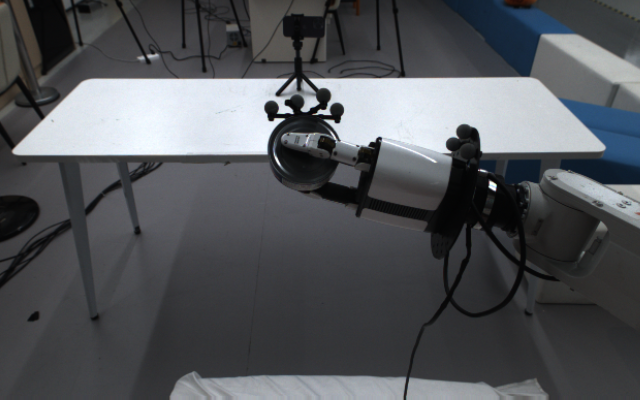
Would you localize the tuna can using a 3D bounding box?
[{"bbox_3d":[-0.016,-0.052,0.568,0.085,0.034,0.085,1,70,-4],"label":"tuna can"}]
